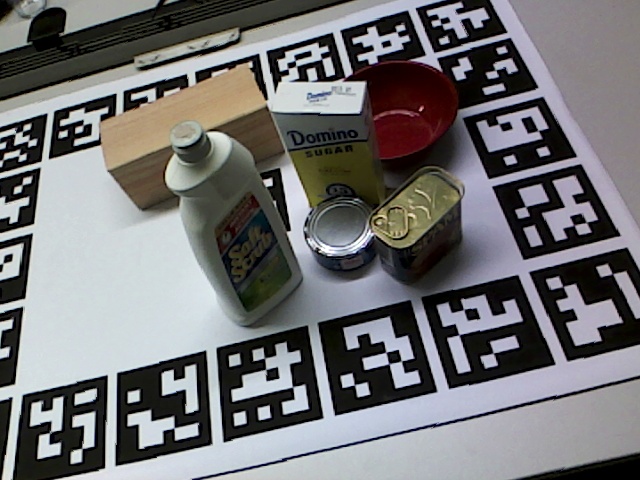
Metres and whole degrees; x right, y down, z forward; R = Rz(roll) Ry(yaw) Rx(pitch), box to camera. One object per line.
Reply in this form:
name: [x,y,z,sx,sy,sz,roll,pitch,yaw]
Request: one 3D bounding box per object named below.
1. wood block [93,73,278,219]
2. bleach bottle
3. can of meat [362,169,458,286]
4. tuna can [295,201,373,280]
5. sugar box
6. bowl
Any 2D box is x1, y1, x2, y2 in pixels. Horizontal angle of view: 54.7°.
wood block: [-0.172,-0.121,0.799,0.206,0.089,0.091,-23,59,-2]
bleach bottle: [-0.097,-0.010,0.604,0.102,0.249,0.068,-37,55,-10]
can of meat: [0.100,-0.010,0.658,0.101,0.083,0.058,-40,54,-14]
tuna can: [0.017,0.001,0.695,0.086,0.033,0.086,-7,59,11]
sugar box: [0.013,-0.092,0.671,0.093,0.175,0.045,1,60,19]
bowl: [0.088,-0.145,0.763,0.162,0.055,0.162,-9,56,13]
